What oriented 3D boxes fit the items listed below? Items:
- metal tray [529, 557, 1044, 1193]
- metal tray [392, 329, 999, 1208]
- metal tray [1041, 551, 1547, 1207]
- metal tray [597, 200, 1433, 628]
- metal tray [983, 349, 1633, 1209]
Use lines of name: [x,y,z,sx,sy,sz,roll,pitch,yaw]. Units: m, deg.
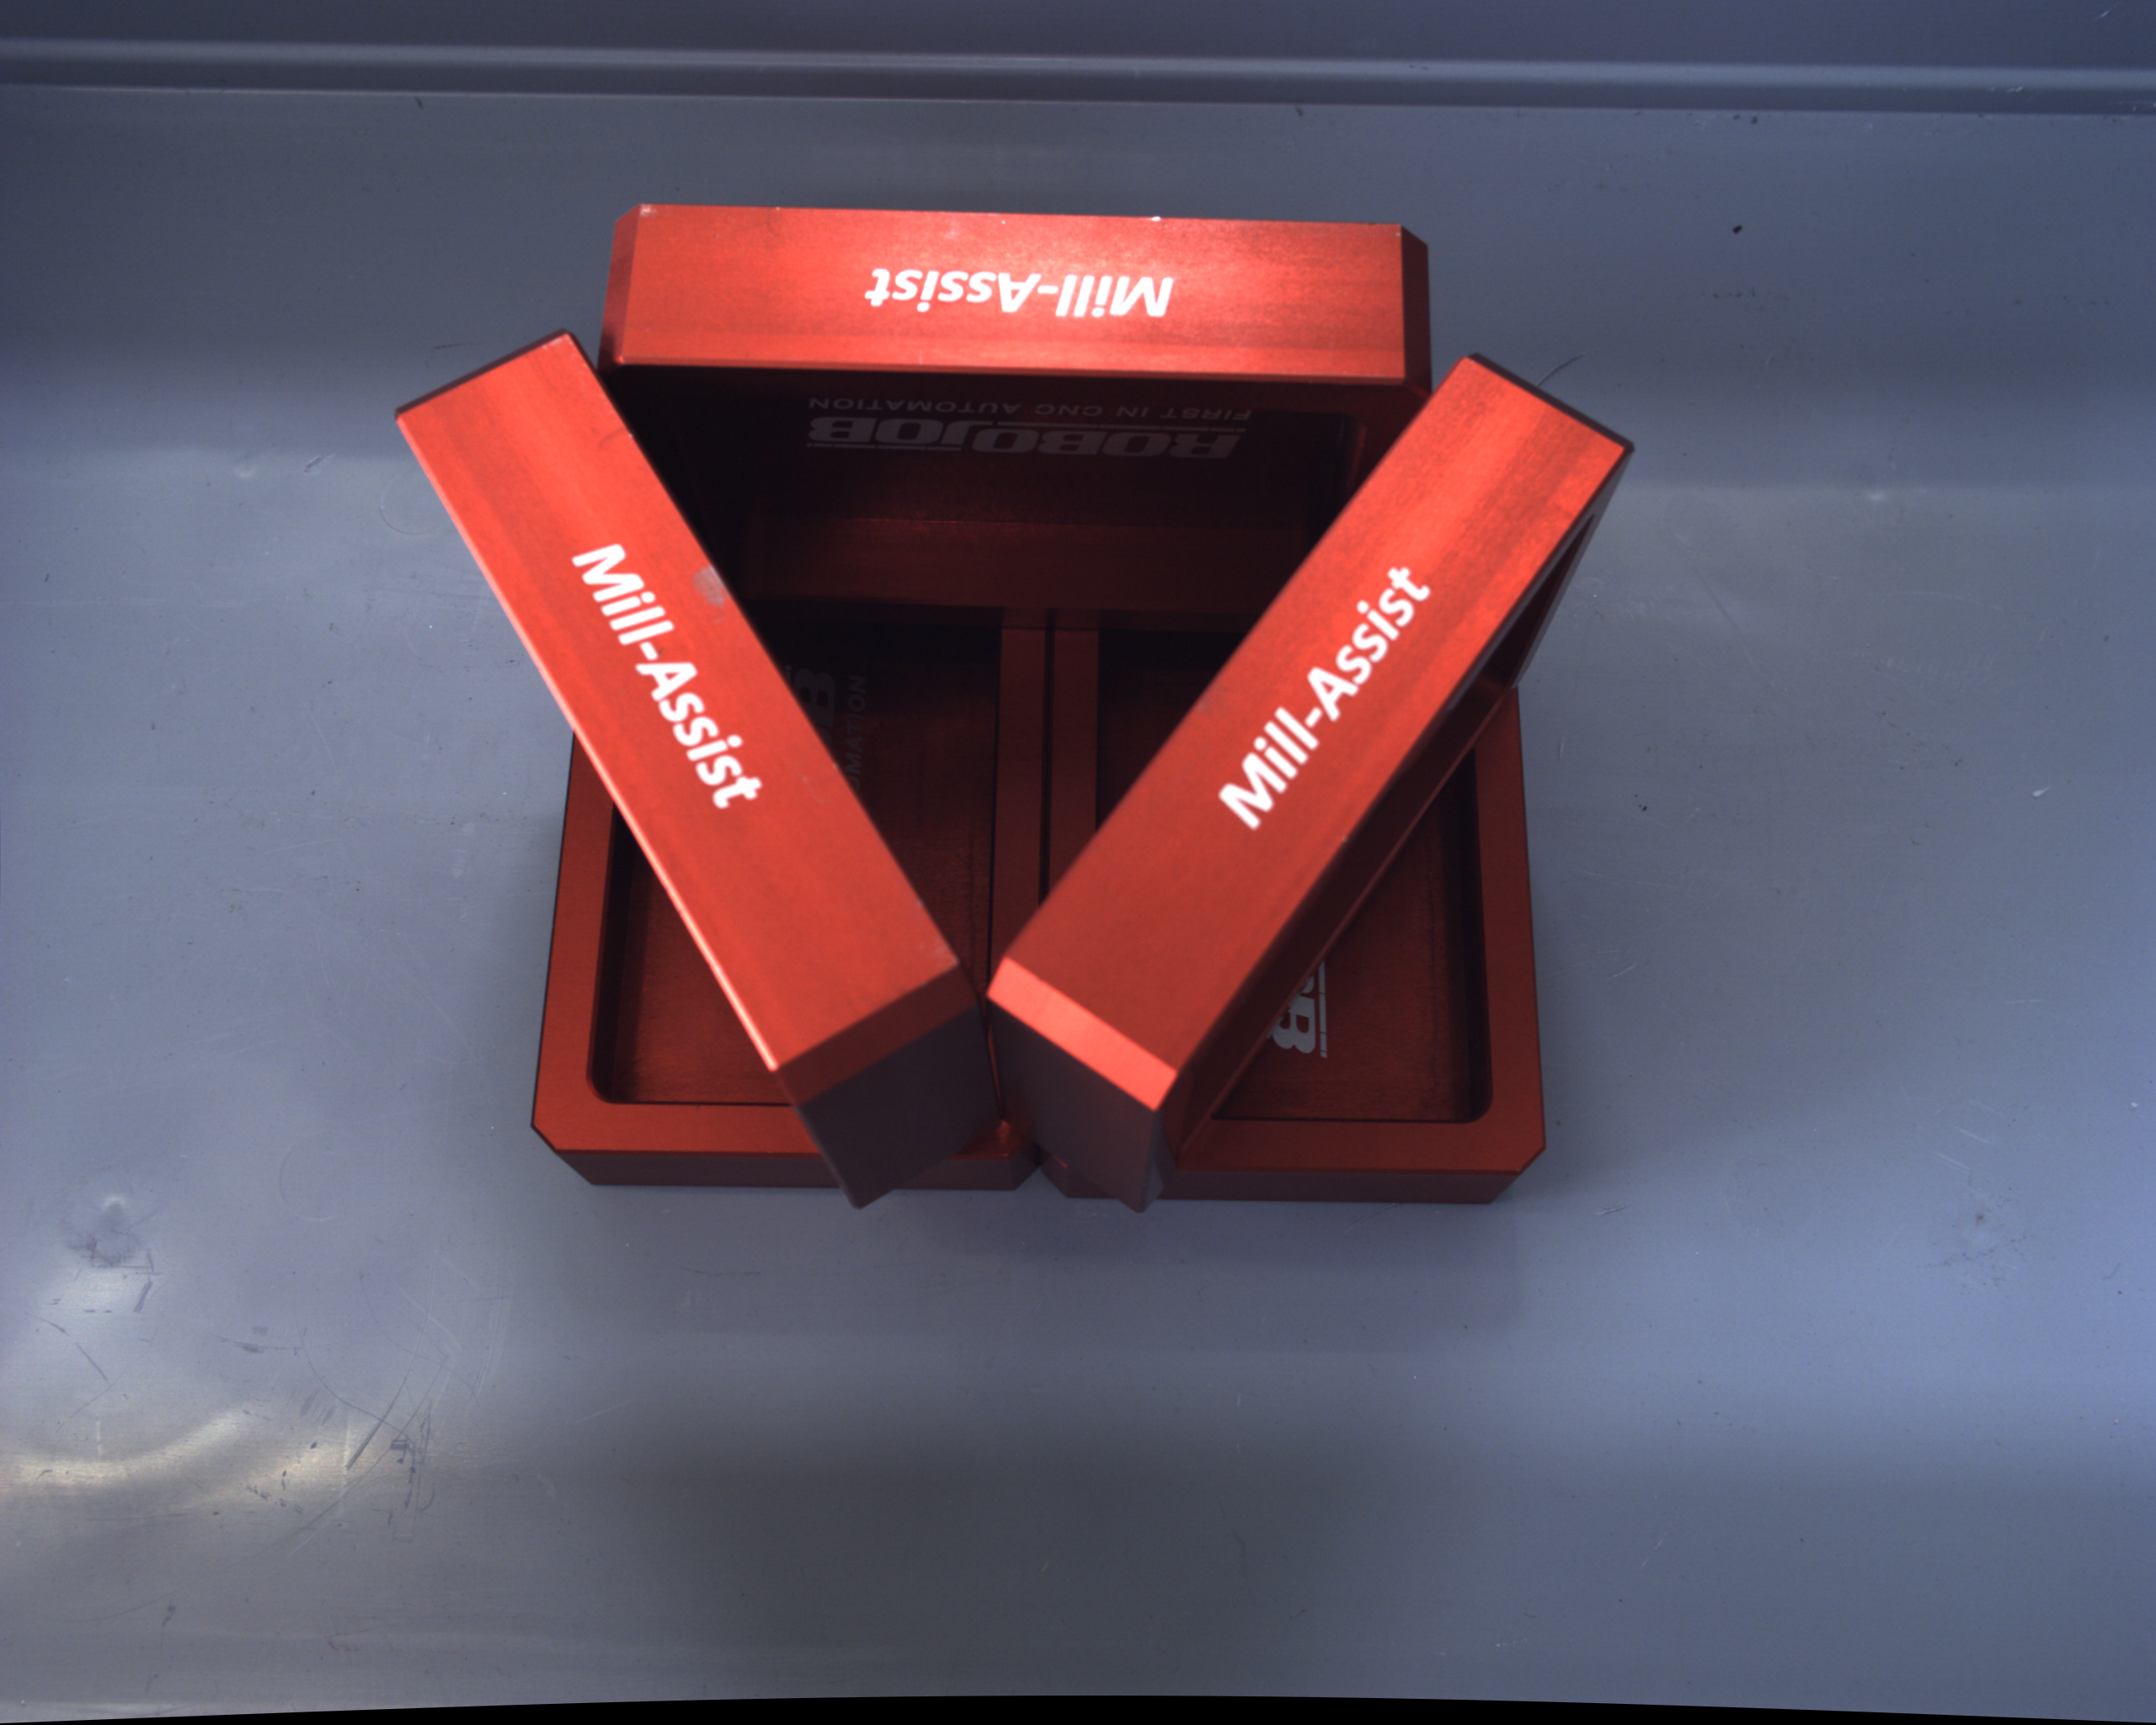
metal tray: [-0.052,-0.003,0.407,0.091,0.030,0.130,0,69,0]
metal tray: [-0.060,-0.012,0.345,0.030,0.090,0.130,-30,73,-10]
metal tray: [0.040,-0.001,0.406,0.091,0.030,0.130,1,69,1]
metal tray: [-0.009,-0.075,0.368,0.131,0.090,0.030,2,71,1]
metal tray: [0.037,-0.010,0.344,0.030,0.090,0.130,34,74,11]
